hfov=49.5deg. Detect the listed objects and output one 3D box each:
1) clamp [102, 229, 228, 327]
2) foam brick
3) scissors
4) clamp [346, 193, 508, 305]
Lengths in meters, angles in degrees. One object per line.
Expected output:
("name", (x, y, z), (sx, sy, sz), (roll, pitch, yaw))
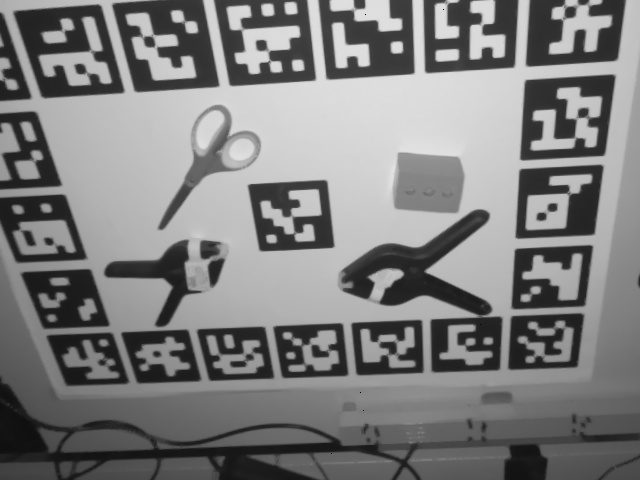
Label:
("clamp", (-0.191, 0.036, 0.913), (0.163, 0.037, 0.122), (-30, 106, 17))
("foam brick", (0.135, -0.092, 0.815), (0.078, 0.052, 0.052), (1, 118, -2))
("scissors", (-0.145, -0.096, 0.842), (0.088, 0.016, 0.200), (34, 117, -7))
("clamp", (0.134, 0.024, 0.886), (0.202, 0.037, 0.164), (-7, 121, 8))
